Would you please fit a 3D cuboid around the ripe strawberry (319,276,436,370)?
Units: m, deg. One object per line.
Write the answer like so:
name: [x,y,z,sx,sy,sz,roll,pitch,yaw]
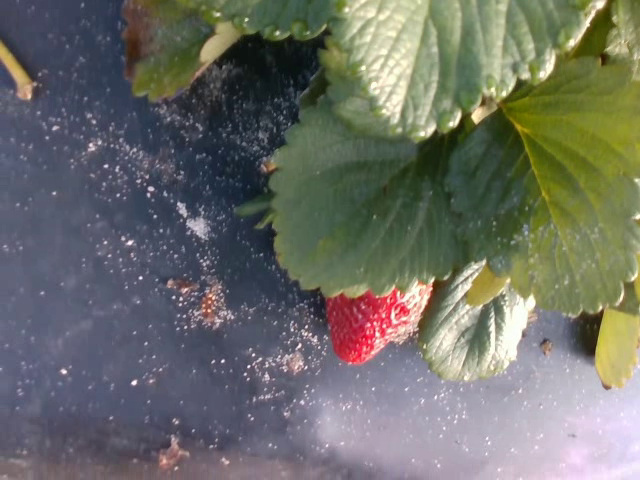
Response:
ripe strawberry: [0.011,0.016,0.134,0.029,0.036,0.021,20,12,-3]
